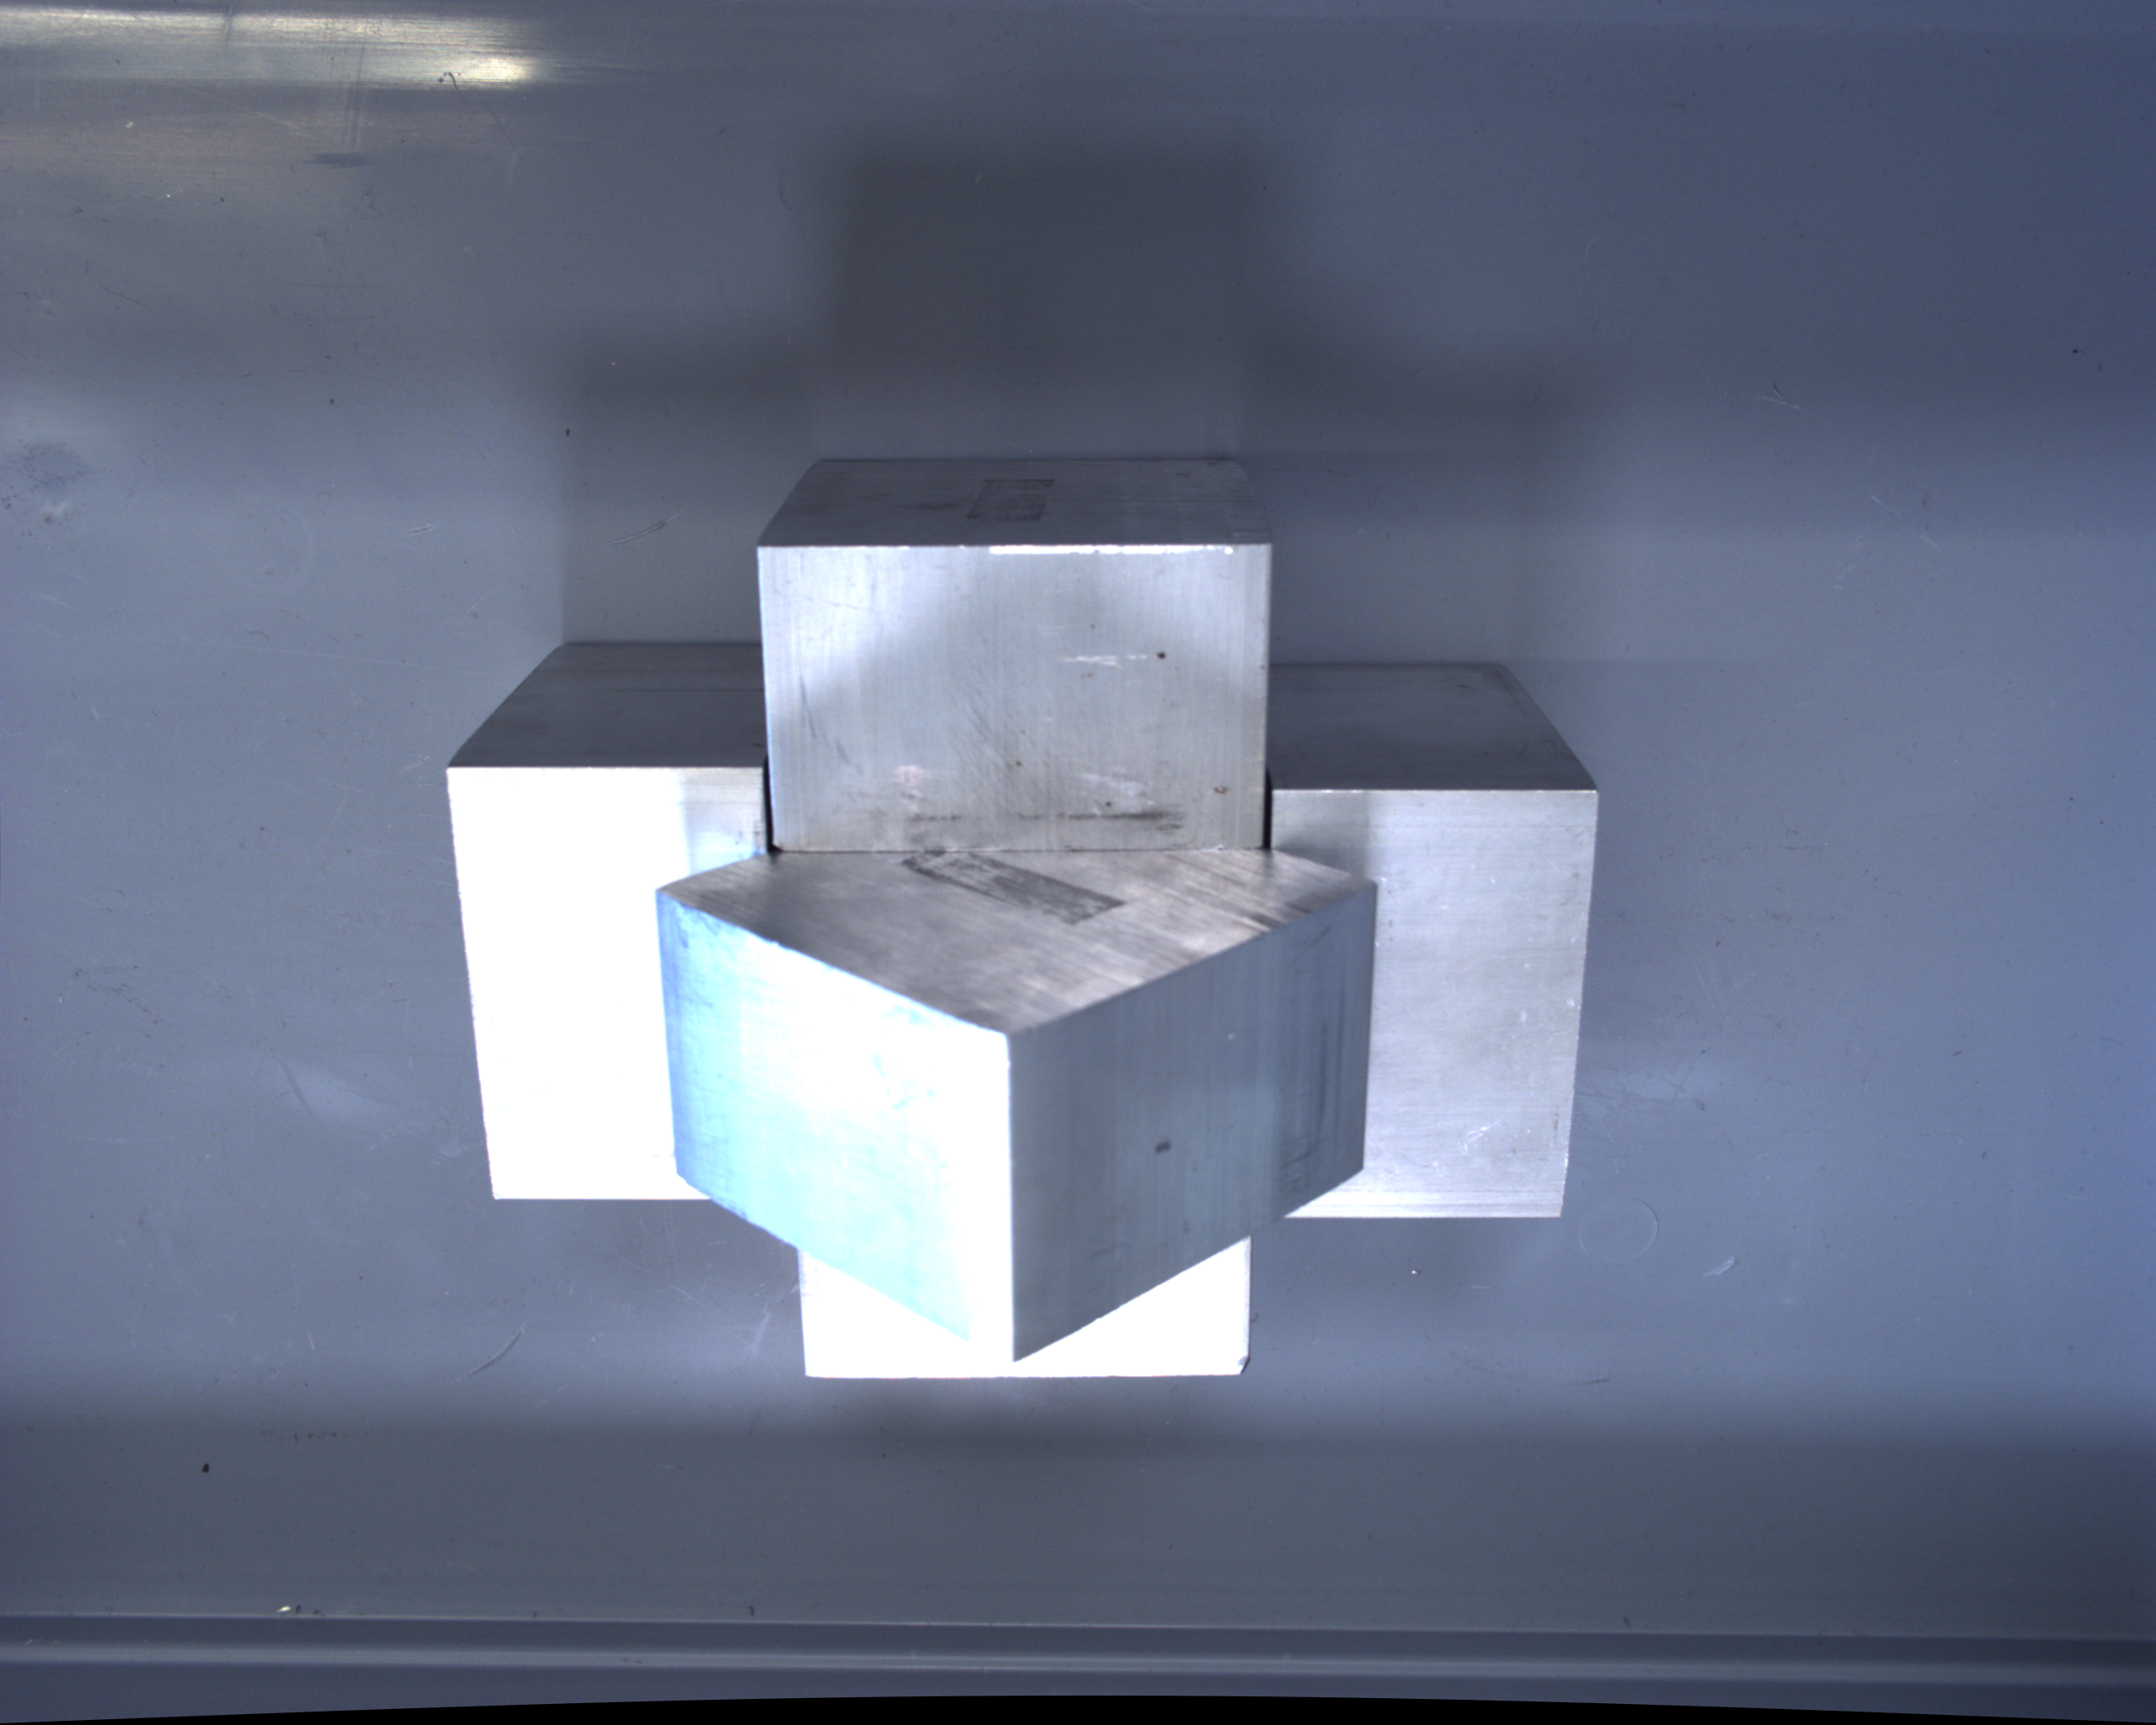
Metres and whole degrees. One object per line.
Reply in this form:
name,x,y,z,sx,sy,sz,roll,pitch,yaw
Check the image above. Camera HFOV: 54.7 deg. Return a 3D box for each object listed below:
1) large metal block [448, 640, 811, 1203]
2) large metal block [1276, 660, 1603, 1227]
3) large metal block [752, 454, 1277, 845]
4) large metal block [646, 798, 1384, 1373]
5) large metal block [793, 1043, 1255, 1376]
large metal block,-0.075,0.008,0.383,0.050,0.080,0.079,0,110,0
large metal block,0.058,0.012,0.383,0.050,0.080,0.079,0,110,-1
large metal block,-0.010,-0.040,0.366,0.081,0.080,0.050,0,110,0
large metal block,-0.010,0.027,0.330,0.081,0.080,0.050,-19,117,-42
large metal block,-0.009,0.054,0.401,0.081,0.080,0.050,0,110,0
